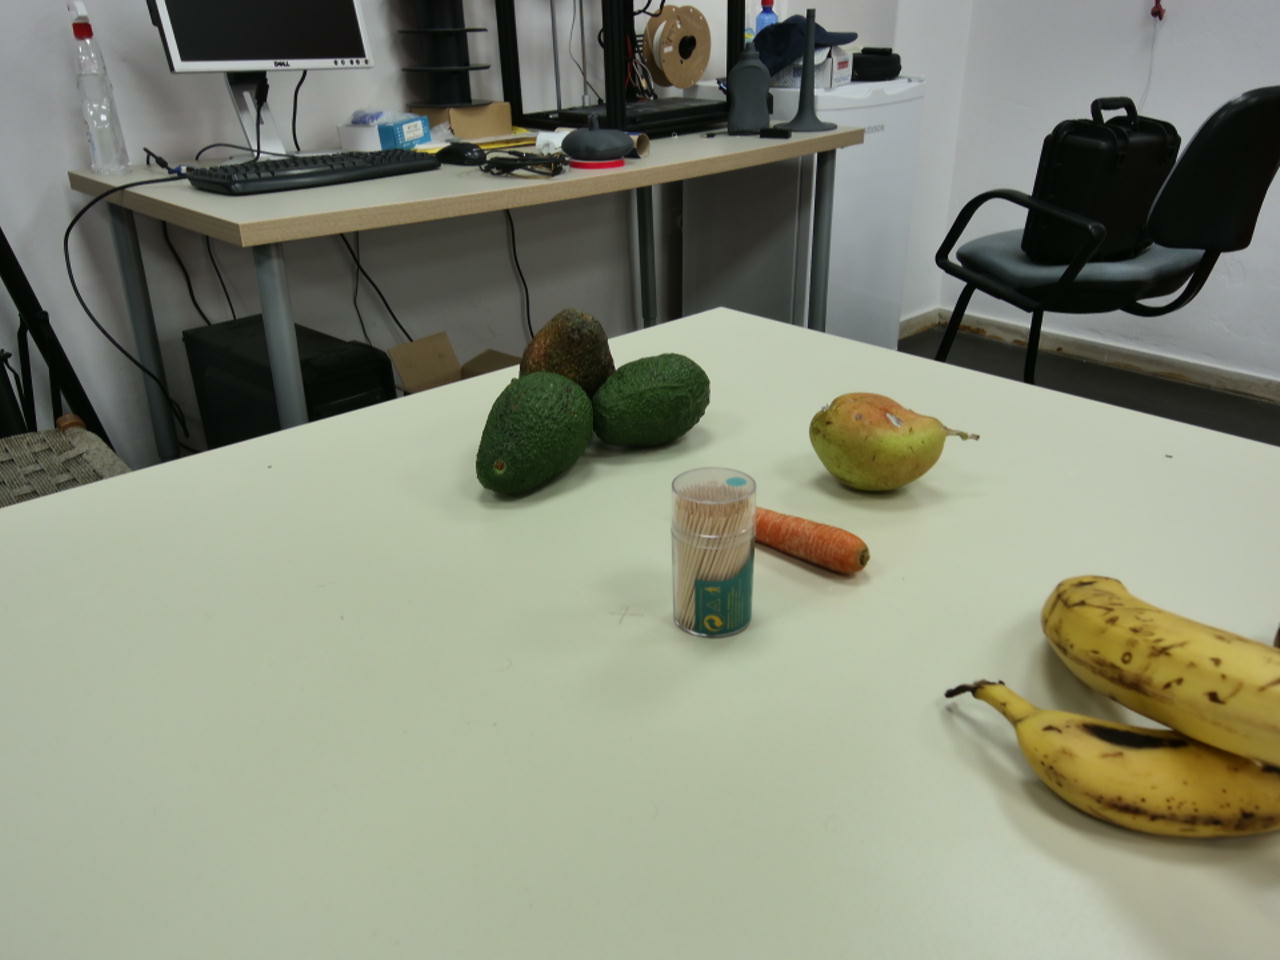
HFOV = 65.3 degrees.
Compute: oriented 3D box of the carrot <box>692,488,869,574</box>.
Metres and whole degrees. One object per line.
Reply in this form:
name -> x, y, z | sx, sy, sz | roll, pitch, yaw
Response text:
carrot -> 0.076, 0.026, 0.568 | 0.024, 0.023, 0.122 | -21, 31, -40
